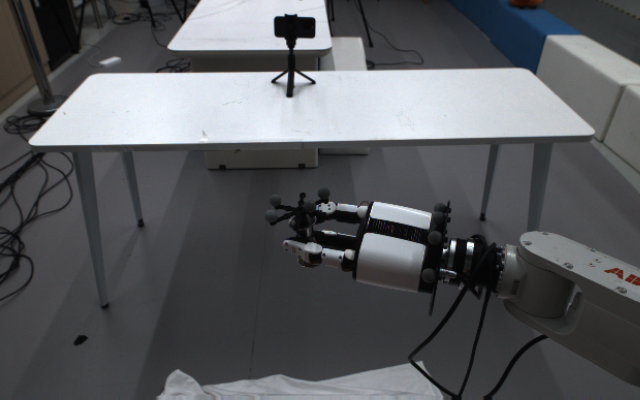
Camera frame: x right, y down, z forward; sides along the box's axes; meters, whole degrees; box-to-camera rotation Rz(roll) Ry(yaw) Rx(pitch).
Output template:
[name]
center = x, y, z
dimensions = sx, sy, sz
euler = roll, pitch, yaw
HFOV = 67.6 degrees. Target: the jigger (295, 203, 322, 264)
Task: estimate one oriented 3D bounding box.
[jigger]
center = -0.017, 0.057, 0.692
dimensions = 0.043, 0.071, 0.043
euler = -10, 32, 6
